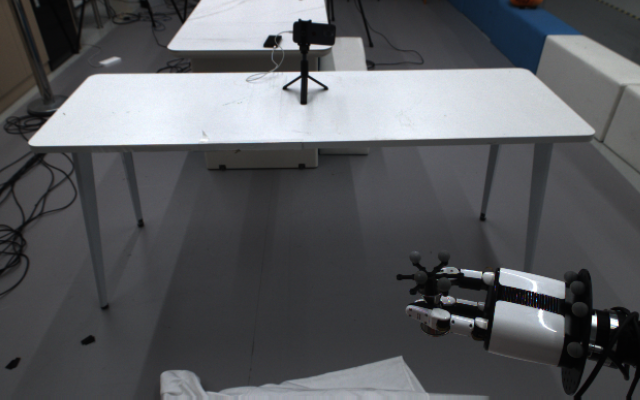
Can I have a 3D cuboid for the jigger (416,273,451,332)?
[{"bbox_3d":[0.159,0.146,0.679,0.043,0.071,0.043,-11,23,5],"label":"jigger"}]
